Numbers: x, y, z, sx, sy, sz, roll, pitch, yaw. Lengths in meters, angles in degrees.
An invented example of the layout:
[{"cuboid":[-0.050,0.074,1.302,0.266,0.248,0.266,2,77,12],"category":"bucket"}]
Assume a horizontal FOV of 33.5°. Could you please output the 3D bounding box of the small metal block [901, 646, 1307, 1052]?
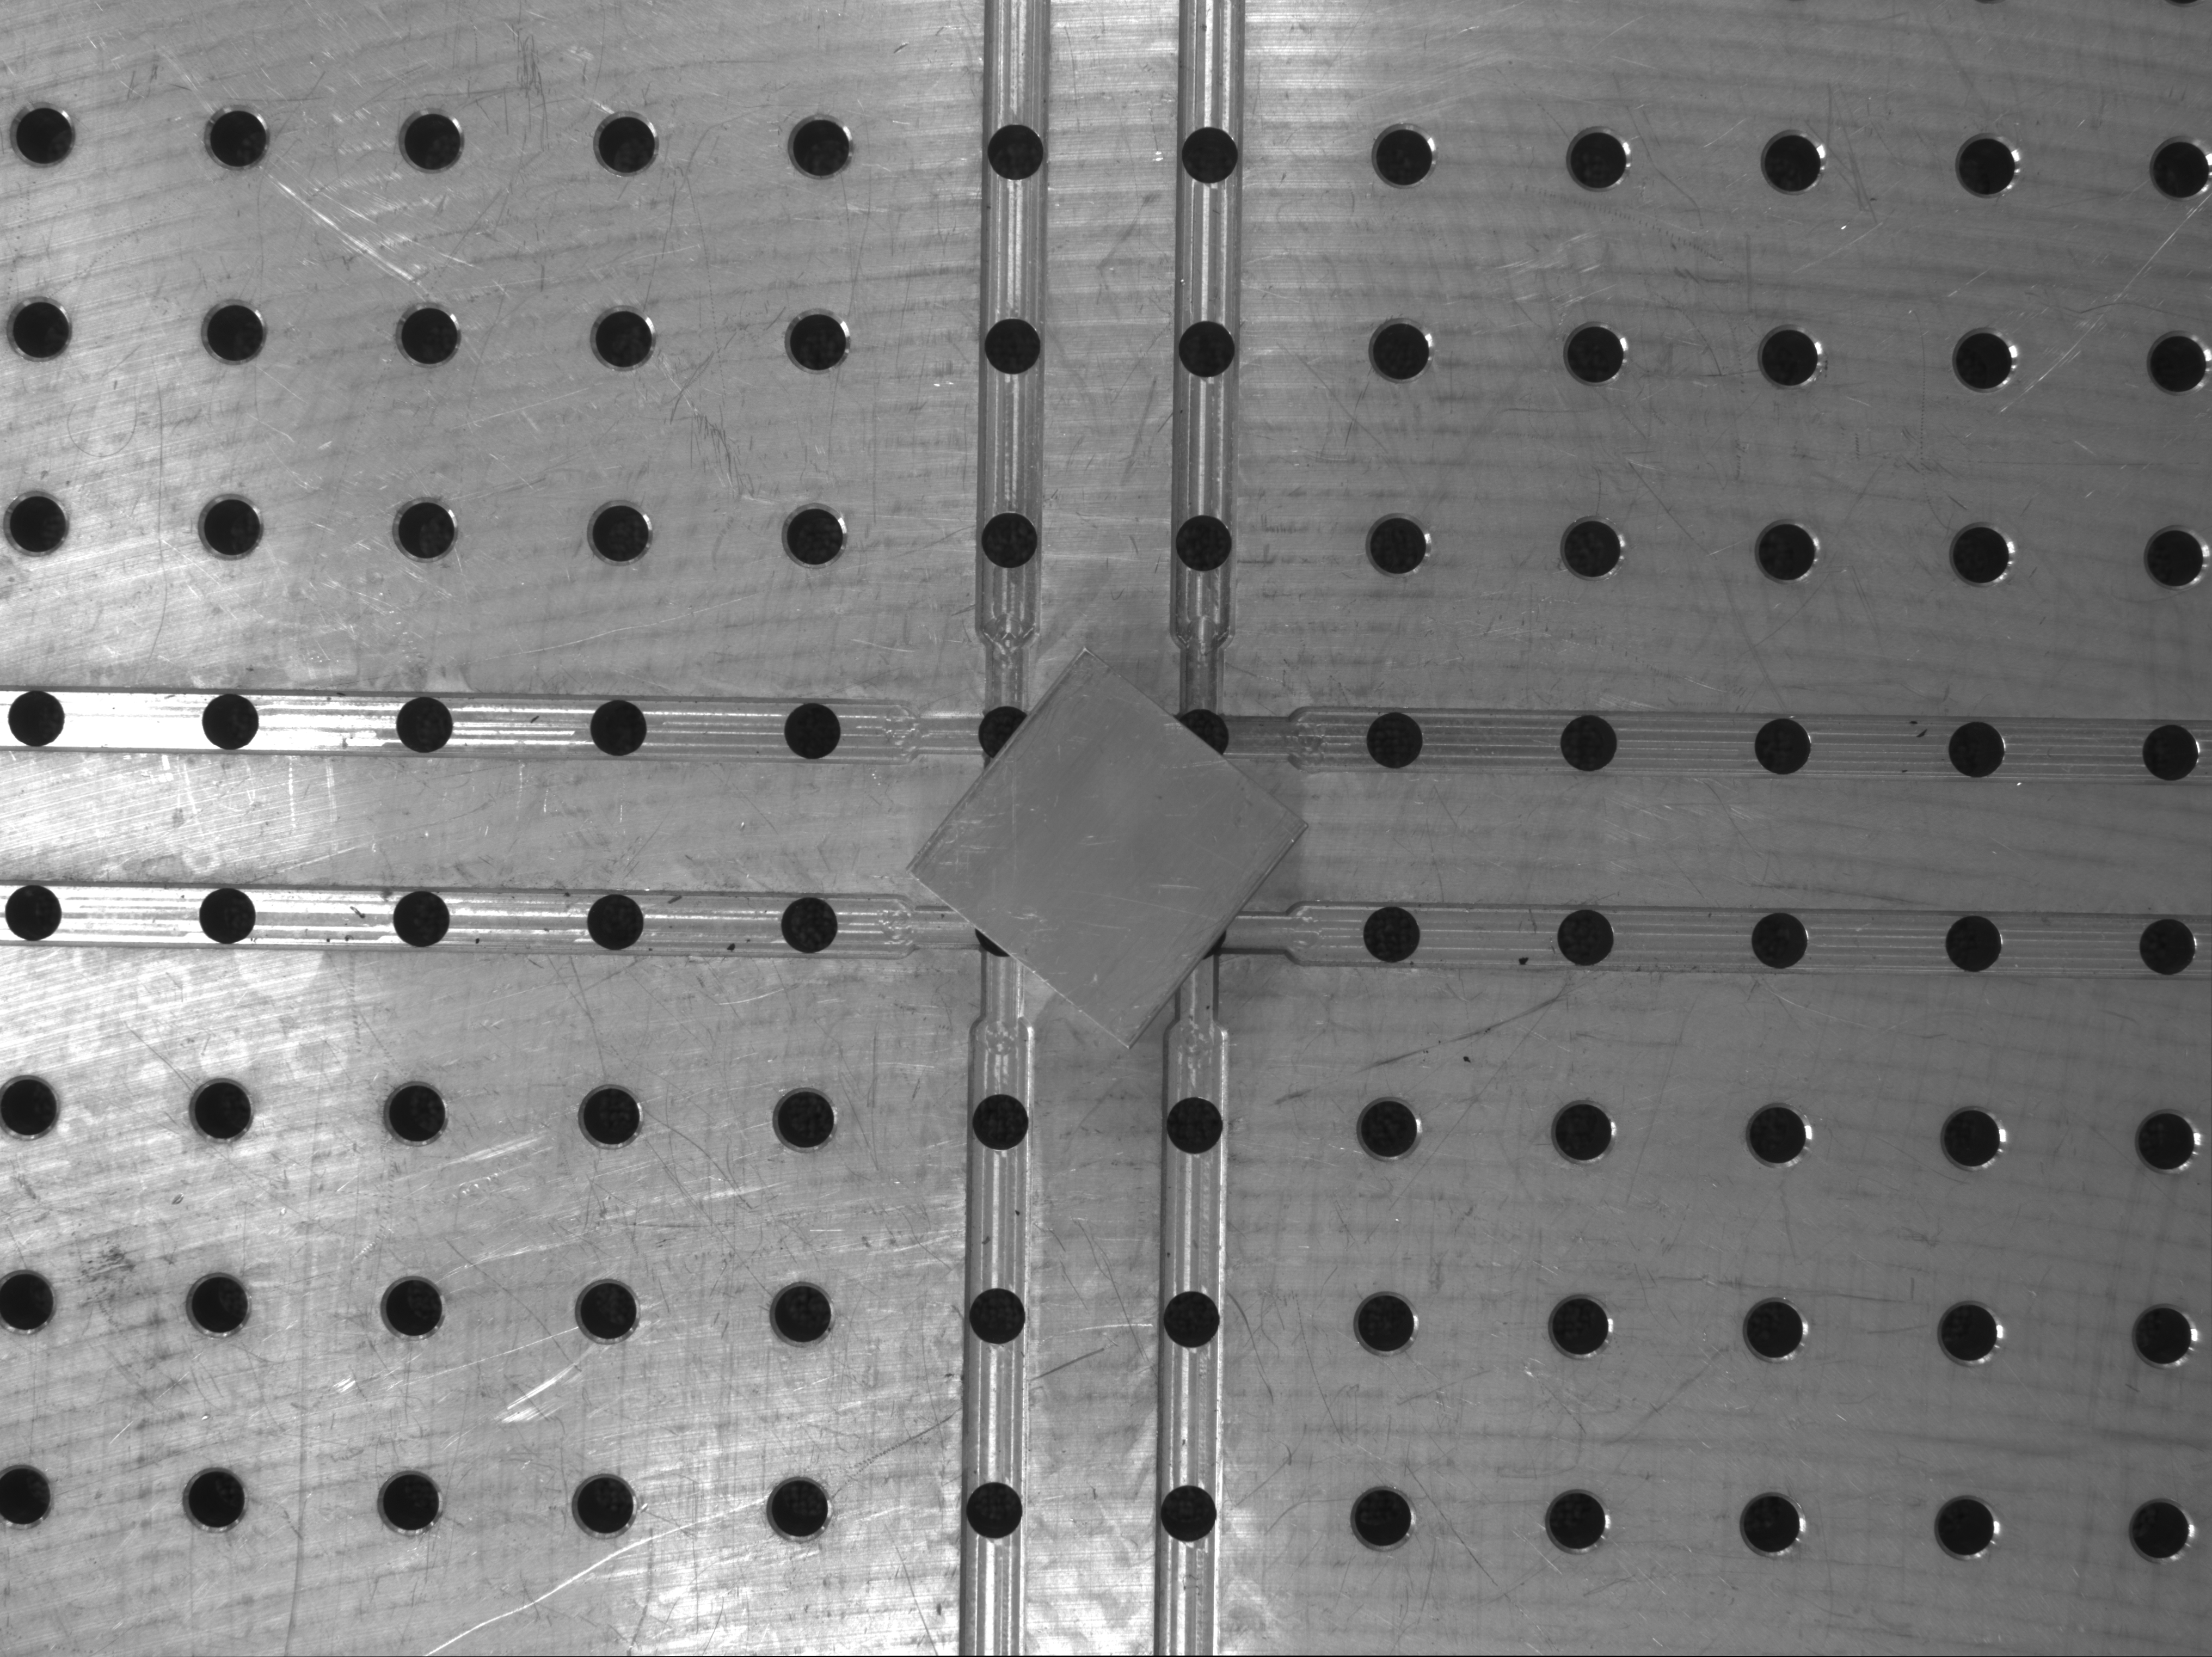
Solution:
[{"cuboid":[0.000,0.003,0.648,0.050,0.025,0.050,38,90,0],"category":"small metal block"}]
